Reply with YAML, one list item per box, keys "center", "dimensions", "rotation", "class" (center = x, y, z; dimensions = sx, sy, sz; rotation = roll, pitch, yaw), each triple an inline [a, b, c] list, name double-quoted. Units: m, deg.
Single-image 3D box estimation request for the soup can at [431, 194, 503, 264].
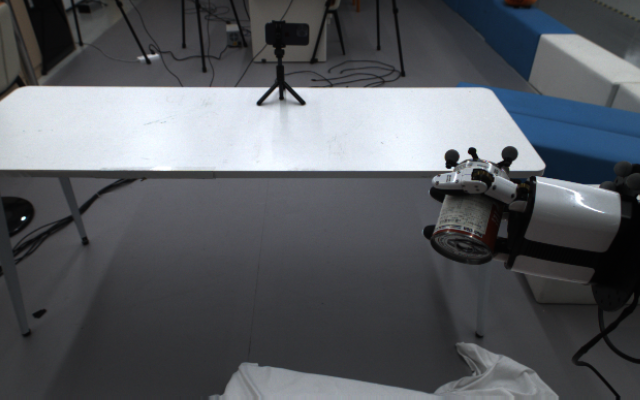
- center: [0.172, 0.010, 0.552]
  dimensions: [0.067, 0.067, 0.101]
  rotation: [15, 63, 18]
  class: "soup can"
